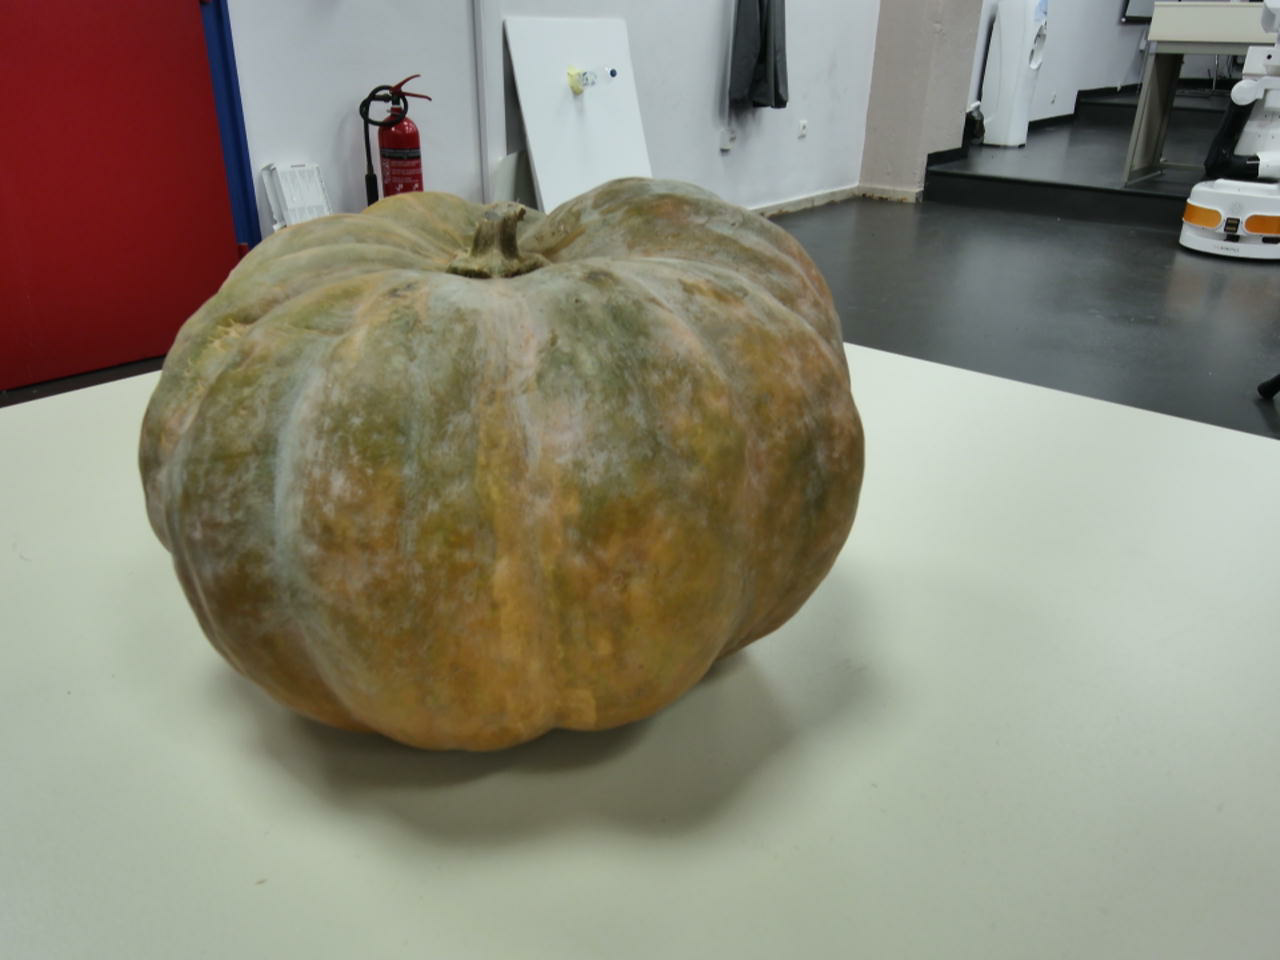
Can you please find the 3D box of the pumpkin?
[{"bbox_3d":[-0.046,-0.015,0.360,0.252,0.169,0.251,0,23,0],"label":"pumpkin"}]
